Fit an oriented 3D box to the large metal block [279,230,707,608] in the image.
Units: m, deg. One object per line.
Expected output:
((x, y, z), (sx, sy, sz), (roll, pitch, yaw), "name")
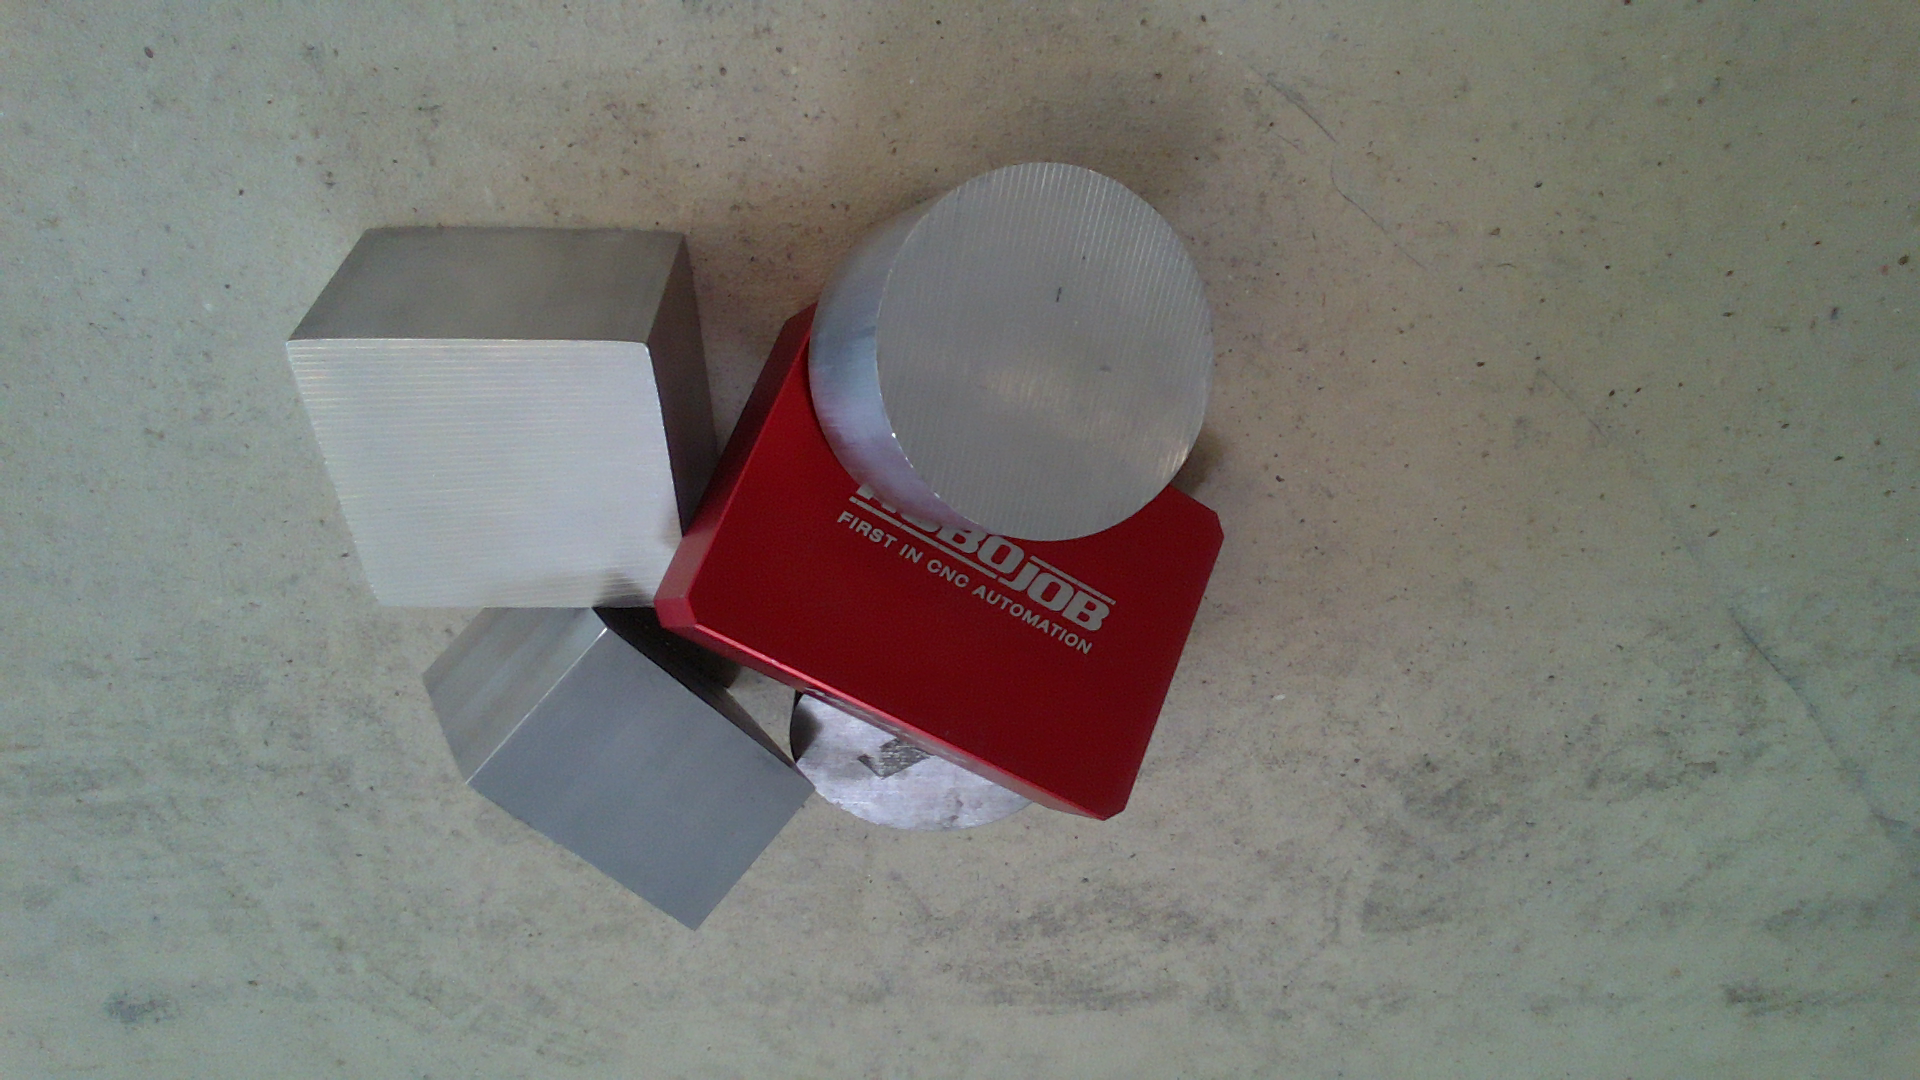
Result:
((-0.109, -0.029, 0.346), (0.080, 0.050, 0.080), (0, 130, -1), "large metal block")

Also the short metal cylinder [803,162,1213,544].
((0.010, -0.041, 0.314), (0.080, 0.050, 0.080), (-2, 95, -22), "short metal cylinder")

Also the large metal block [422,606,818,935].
((-0.098, 0.054, 0.391), (0.050, 0.080, 0.080), (-49, 121, -7), "large metal block")

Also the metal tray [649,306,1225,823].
((-0.001, 0.007, 0.356), (0.130, 0.090, 0.030), (29, 164, -22), "metal tray")

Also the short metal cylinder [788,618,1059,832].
((-0.009, 0.042, 0.411), (0.080, 0.050, 0.080), (0, 130, 0), "short metal cylinder")
